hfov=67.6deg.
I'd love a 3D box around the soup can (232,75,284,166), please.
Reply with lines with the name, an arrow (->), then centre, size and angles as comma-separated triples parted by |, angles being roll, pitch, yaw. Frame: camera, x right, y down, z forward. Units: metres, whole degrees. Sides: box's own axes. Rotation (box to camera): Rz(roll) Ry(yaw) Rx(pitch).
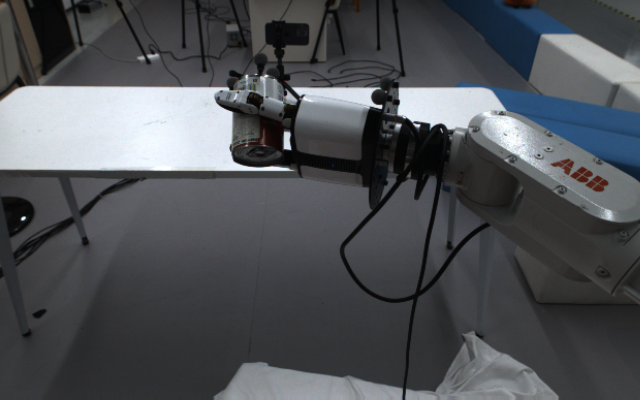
soup can -> -0.079, -0.102, 0.624 | 0.067, 0.067, 0.101 | -2, 71, -5
